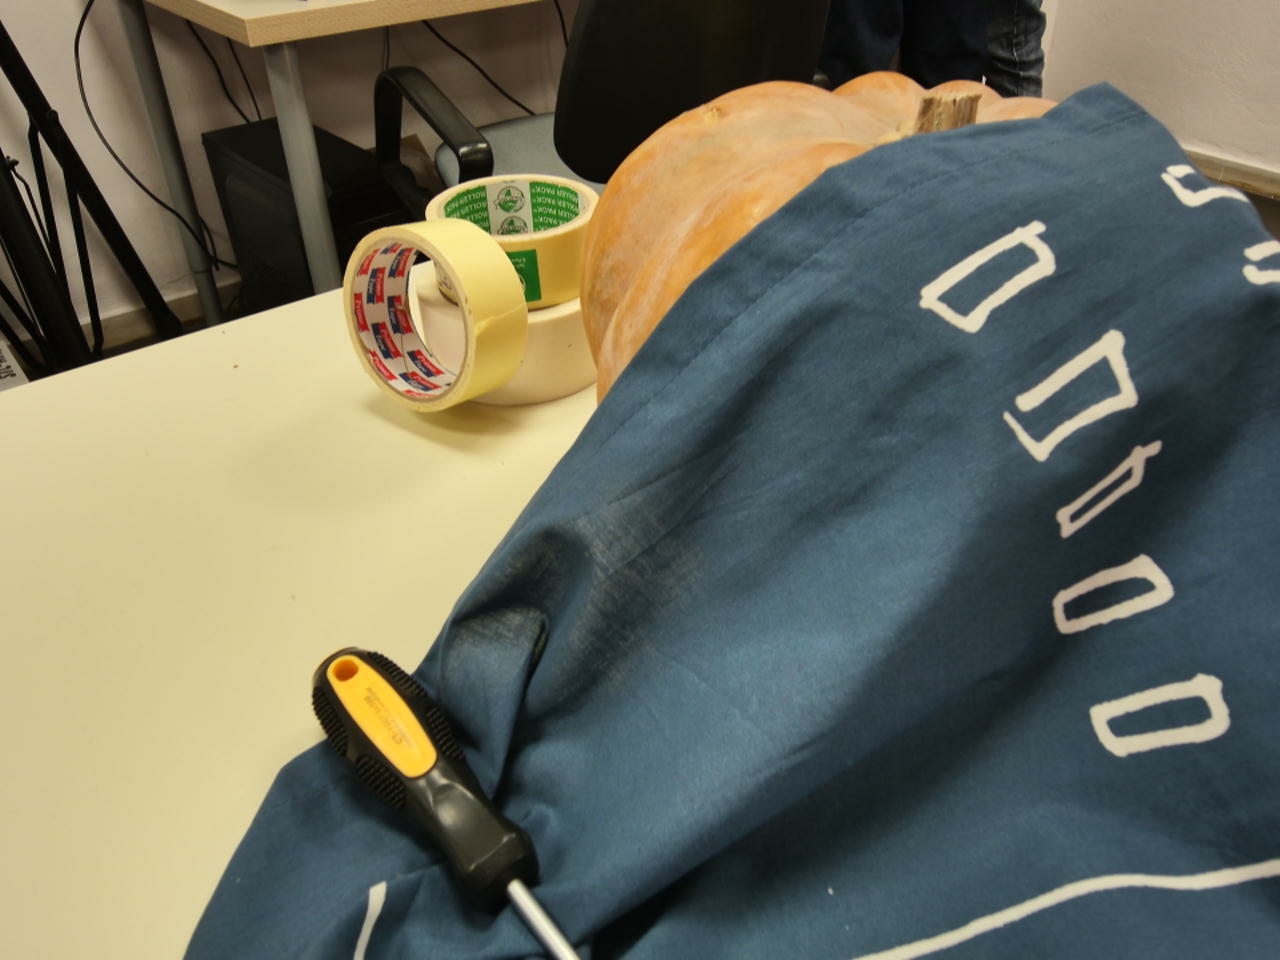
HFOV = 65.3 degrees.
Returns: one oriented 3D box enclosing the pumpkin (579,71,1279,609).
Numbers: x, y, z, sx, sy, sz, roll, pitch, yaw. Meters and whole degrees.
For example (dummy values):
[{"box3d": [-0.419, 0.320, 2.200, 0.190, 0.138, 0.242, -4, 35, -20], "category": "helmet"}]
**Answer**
[{"box3d": [0.105, -0.065, 0.408, 0.277, 0.181, 0.277, 0, 35, 0], "category": "pumpkin"}]
